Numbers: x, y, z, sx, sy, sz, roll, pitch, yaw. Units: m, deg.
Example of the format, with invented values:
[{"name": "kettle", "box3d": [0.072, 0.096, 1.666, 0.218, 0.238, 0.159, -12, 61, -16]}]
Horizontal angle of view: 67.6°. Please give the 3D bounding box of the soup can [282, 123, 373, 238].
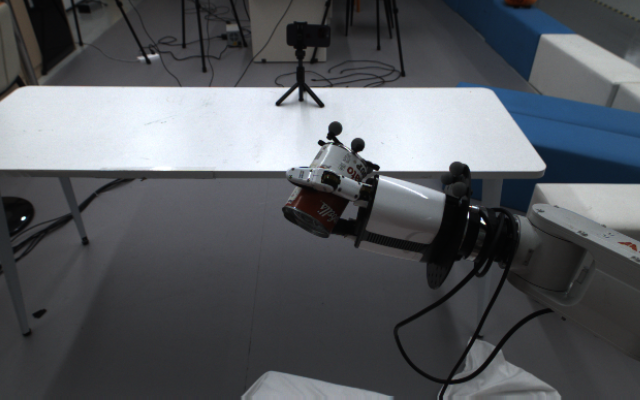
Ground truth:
[{"name": "soup can", "box3d": [0.009, -0.013, 0.603, 0.067, 0.067, 0.101, 23, 71, 27]}]
